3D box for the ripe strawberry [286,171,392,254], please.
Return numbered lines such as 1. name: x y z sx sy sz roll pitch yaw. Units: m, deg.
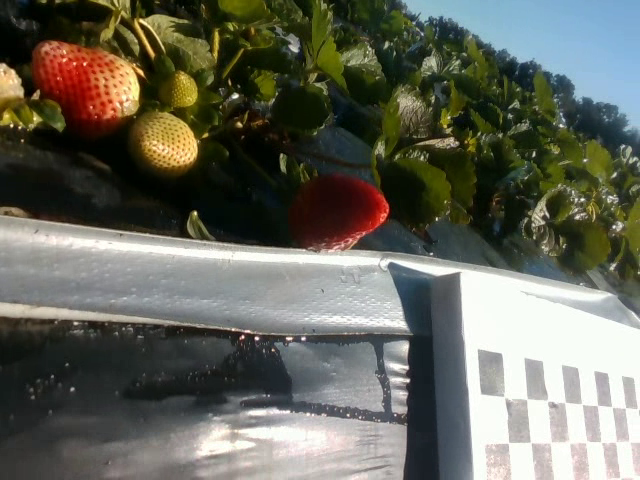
1. ripe strawberry: 0.007 -0.010 0.216 0.036 0.038 0.045 13 -7 -37
